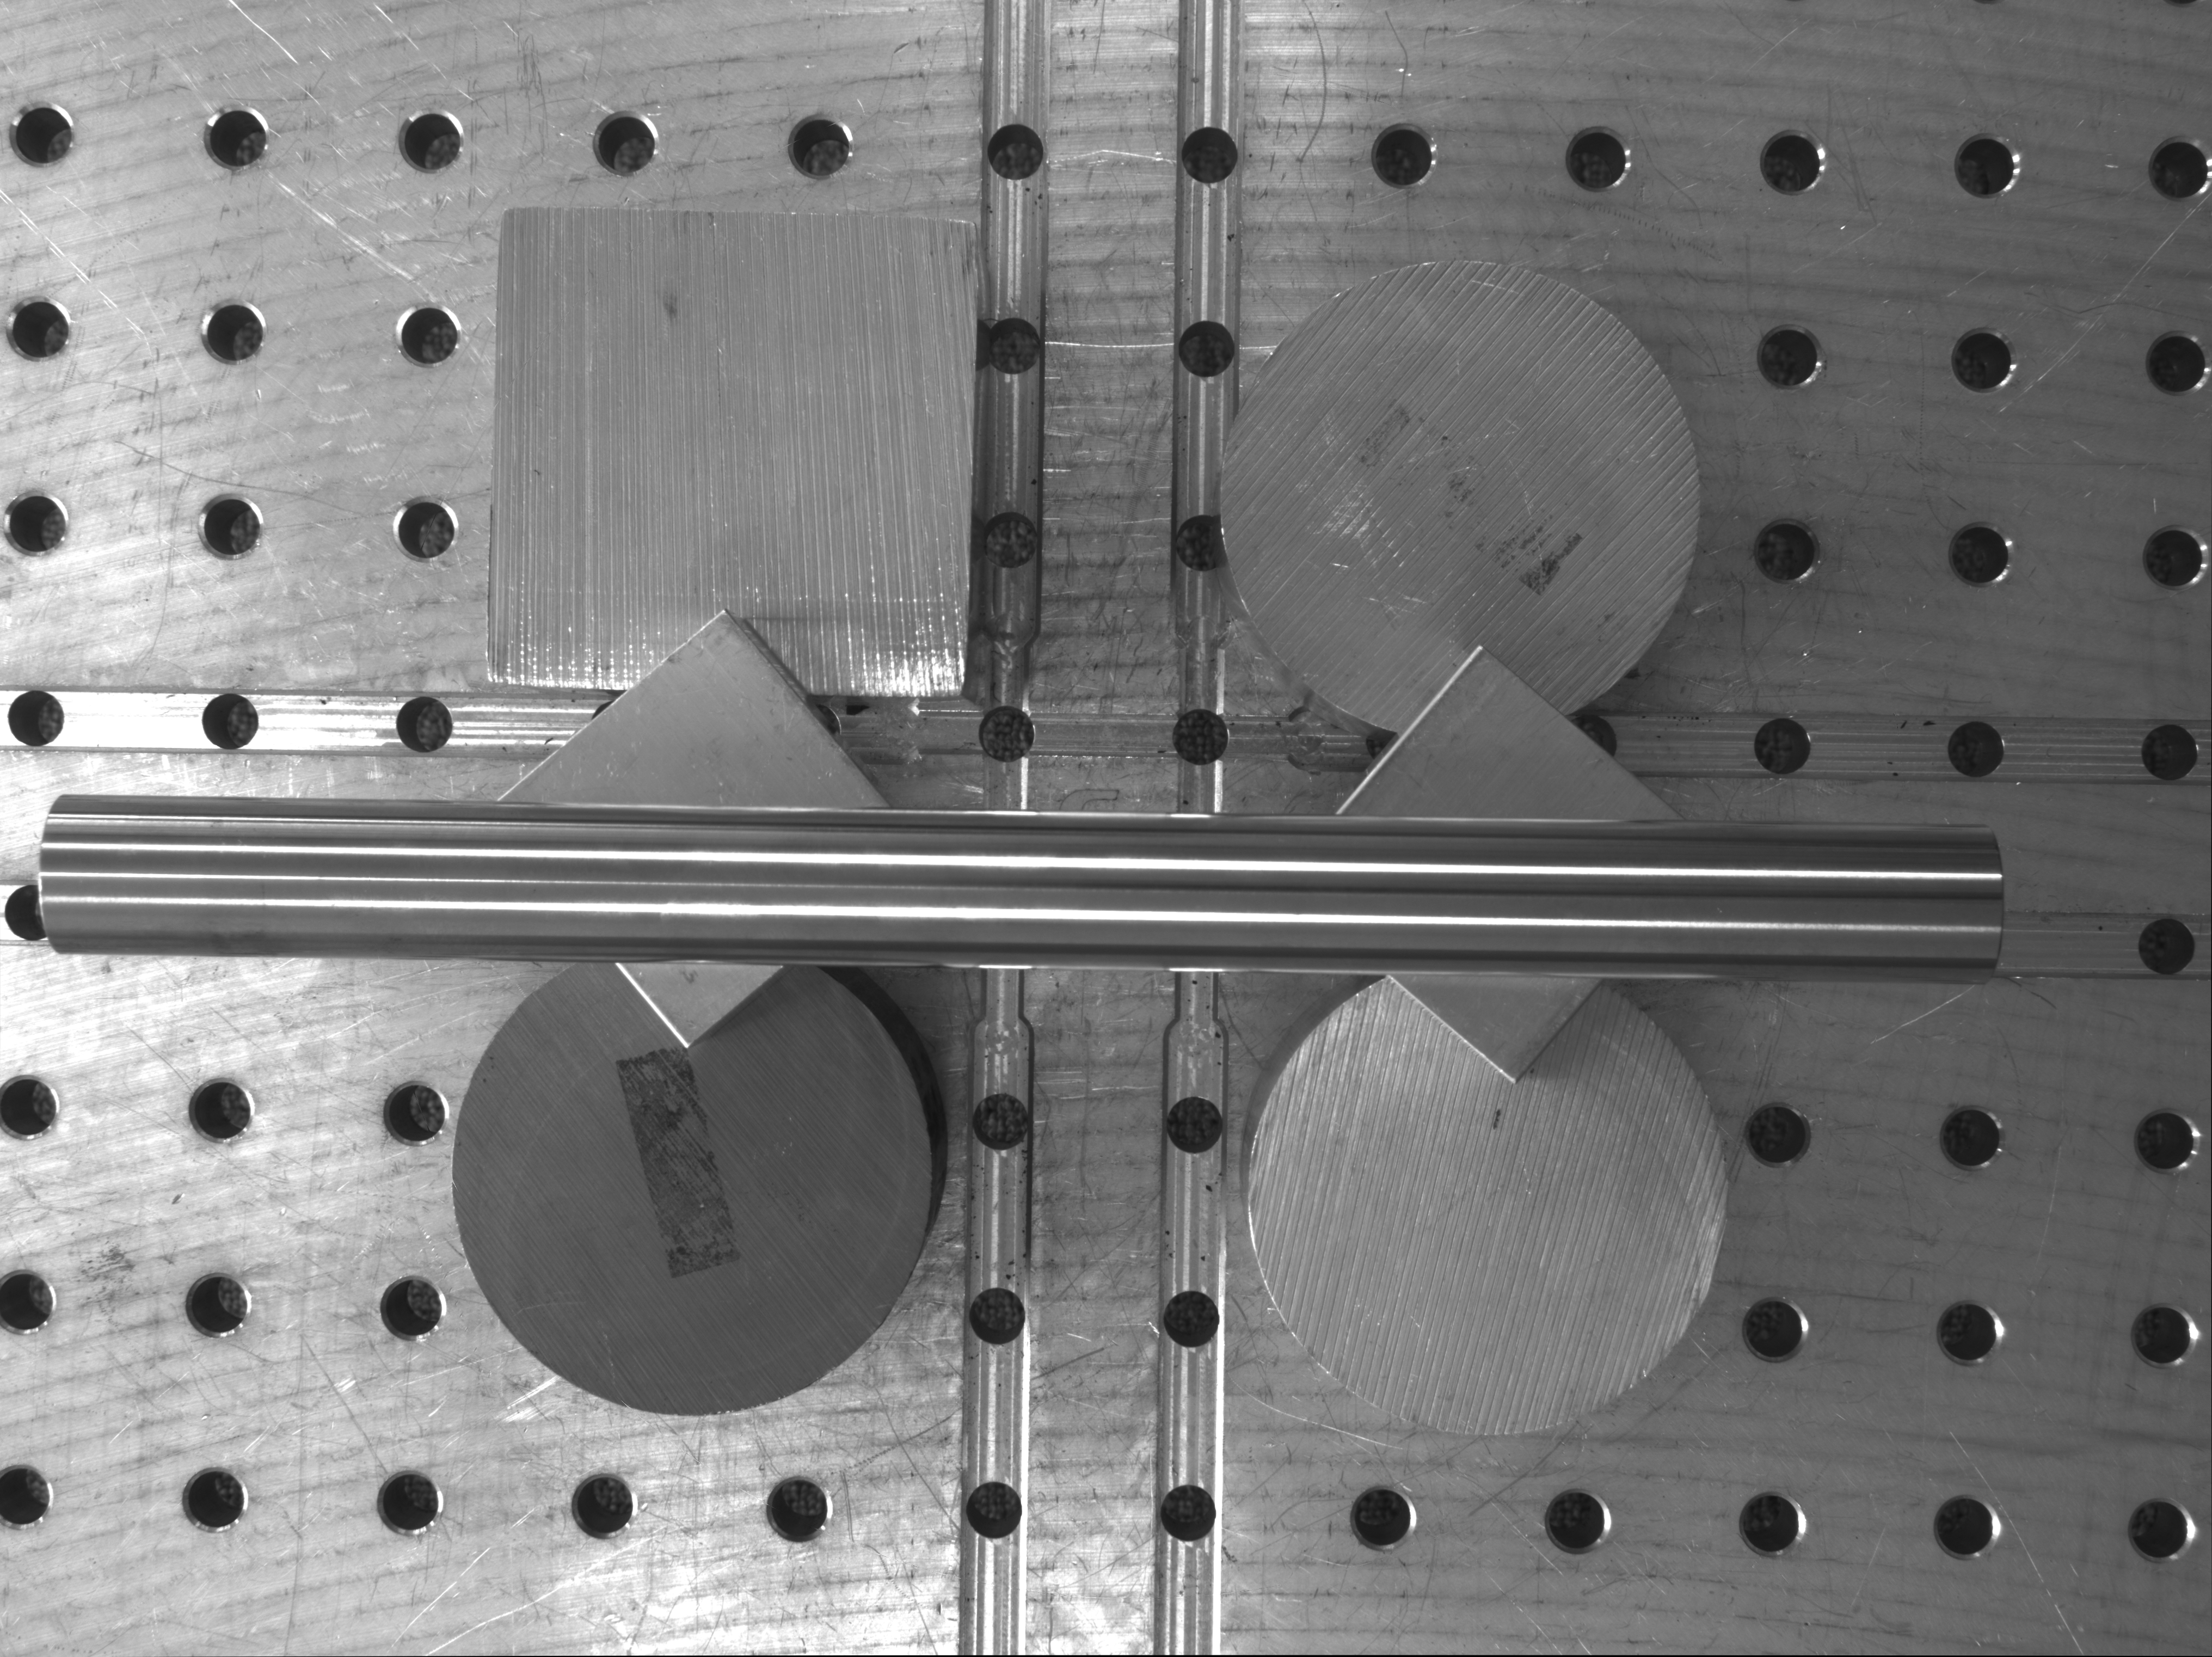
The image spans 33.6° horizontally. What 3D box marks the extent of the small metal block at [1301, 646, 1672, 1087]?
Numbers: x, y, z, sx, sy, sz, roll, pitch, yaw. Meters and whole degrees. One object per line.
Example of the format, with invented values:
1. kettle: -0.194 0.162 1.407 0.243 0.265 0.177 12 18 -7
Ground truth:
1. small metal block: 0.062 0.006 0.598 0.050 0.025 0.050 40 90 0

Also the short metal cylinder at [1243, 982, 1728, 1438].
1. short metal cylinder: 0.064 0.061 0.635 0.080 0.050 0.080 0 90 0

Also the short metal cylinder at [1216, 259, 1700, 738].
1. short metal cylinder: 0.059 -0.055 0.635 0.080 0.050 0.080 0 90 0

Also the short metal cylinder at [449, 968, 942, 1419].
1. short metal cylinder: -0.069 0.058 0.634 0.080 0.050 0.080 0 90 0

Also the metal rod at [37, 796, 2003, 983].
1. metal rod: -0.013 0.009 0.572 0.300 0.025 0.025 1 90 0

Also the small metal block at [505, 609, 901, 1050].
1. small metal block: -0.064 0.000 0.598 0.050 0.025 0.050 -40 90 0

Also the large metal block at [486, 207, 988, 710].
1. large metal block: -0.062 -0.062 0.634 0.080 0.050 0.080 1 90 0
